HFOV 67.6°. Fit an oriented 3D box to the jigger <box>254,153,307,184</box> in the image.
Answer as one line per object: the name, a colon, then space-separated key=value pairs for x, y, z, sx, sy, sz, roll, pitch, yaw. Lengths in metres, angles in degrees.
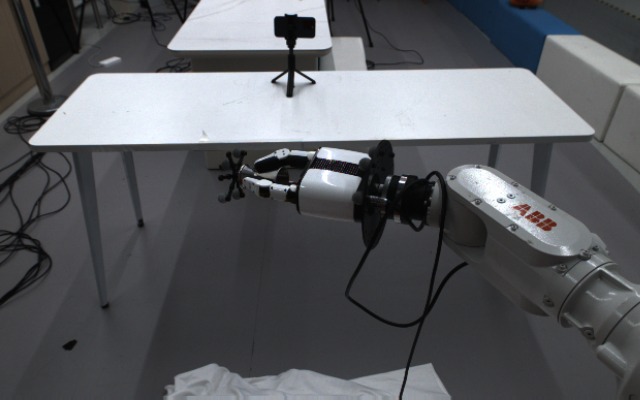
jigger: x=-0.083 y=-0.037 z=0.754 sx=0.071 sy=0.043 sz=0.043 roll=7 pitch=34 yaw=23
